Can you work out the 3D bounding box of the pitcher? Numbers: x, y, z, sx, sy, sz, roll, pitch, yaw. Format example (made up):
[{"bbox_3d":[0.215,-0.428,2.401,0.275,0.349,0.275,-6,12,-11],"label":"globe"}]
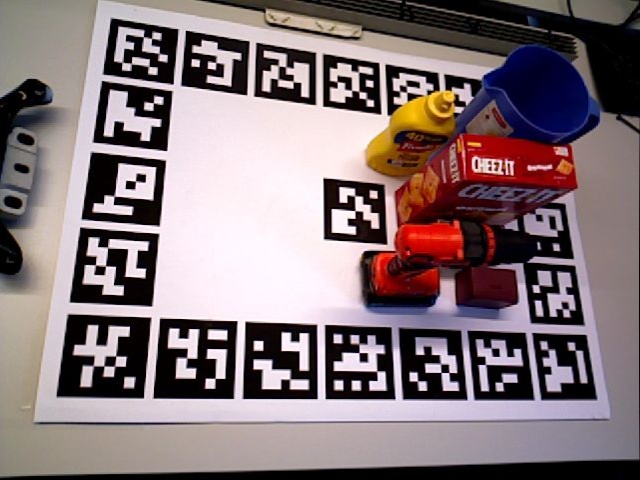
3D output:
[{"bbox_3d":[0.272,-0.157,0.786,0.187,0.247,0.132,11,70,-10],"label":"pitcher"}]

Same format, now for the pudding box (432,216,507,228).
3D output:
[{"bbox_3d":[0.204,0.000,0.785,0.113,0.091,0.038,5,70,-11],"label":"pudding box"}]

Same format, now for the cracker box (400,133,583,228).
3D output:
[{"bbox_3d":[0.226,-0.062,0.751,0.162,0.217,0.071,3,70,-13],"label":"cracker box"}]

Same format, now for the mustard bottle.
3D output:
[{"bbox_3d":[0.142,-0.164,0.765,0.095,0.195,0.058,18,70,-10],"label":"mustard bottle"}]

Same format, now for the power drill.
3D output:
[{"bbox_3d":[0.163,0.032,0.689,0.182,0.191,0.057,4,68,-15],"label":"power drill"}]

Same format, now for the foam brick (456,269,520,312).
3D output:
[{"bbox_3d":[0.250,0.077,0.811,0.077,0.052,0.052,7,73,-13],"label":"foam brick"}]
